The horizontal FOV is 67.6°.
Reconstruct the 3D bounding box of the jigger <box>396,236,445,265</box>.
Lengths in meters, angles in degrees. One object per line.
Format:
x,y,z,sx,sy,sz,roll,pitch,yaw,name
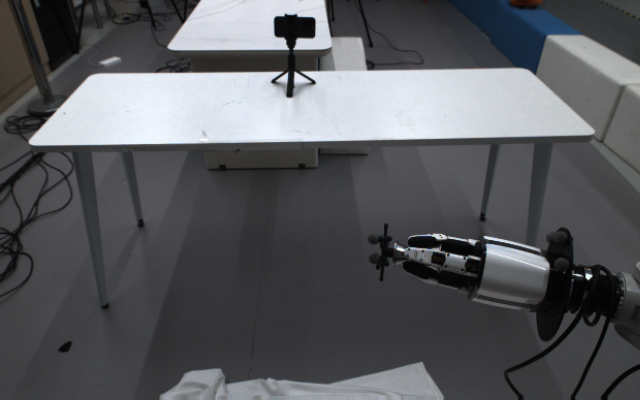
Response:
0.154,0.078,0.728,0.071,0.043,0.043,3,34,18,jigger
